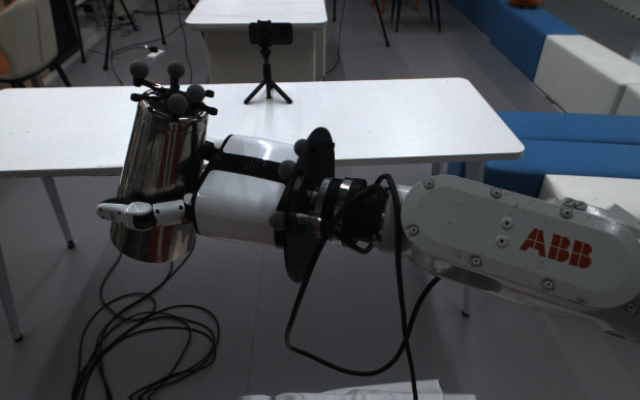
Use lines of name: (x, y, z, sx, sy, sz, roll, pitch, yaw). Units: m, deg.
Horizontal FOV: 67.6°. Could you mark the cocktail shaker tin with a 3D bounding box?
cocktail shaker tin: (-0.165, -0.028, 0.514, 0.093, 0.170, 0.093, 15, 31, -10)
